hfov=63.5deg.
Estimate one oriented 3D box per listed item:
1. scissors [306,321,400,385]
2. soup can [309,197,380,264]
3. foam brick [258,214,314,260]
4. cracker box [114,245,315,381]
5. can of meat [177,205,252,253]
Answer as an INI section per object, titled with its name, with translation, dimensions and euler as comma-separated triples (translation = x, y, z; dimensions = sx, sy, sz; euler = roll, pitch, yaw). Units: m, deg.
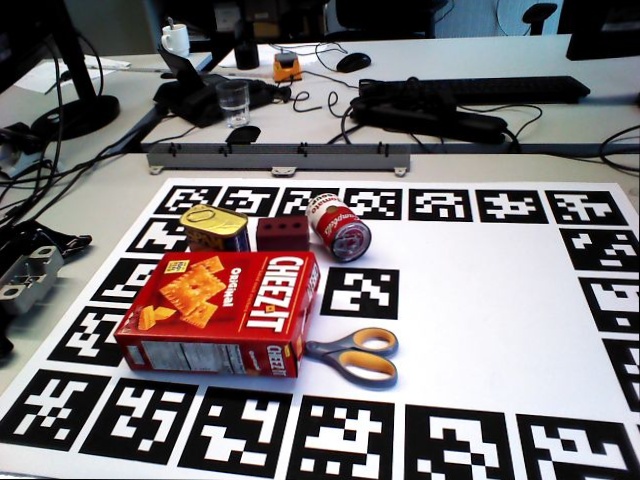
[scissors]
translation = -0.009, 0.132, 0.611
dimensions = 0.203, 0.016, 0.087
euler = -2, 39, 7
[soup can]
translation = 0.034, -0.017, 0.785
dimensions = 0.067, 0.068, 0.102
euler = -23, 35, -19
[foam brick]
translation = -0.050, -0.001, 0.780
dimensions = 0.078, 0.051, 0.052
euler = -5, 38, 2
[cracker box]
translation = -0.121, 0.084, 0.640
dimensions = 0.214, 0.072, 0.163
euler = -5, 37, 9
[can of meat]
translation = -0.151, 0.002, 0.761
dimensions = 0.102, 0.084, 0.057
euler = 11, 42, 21
